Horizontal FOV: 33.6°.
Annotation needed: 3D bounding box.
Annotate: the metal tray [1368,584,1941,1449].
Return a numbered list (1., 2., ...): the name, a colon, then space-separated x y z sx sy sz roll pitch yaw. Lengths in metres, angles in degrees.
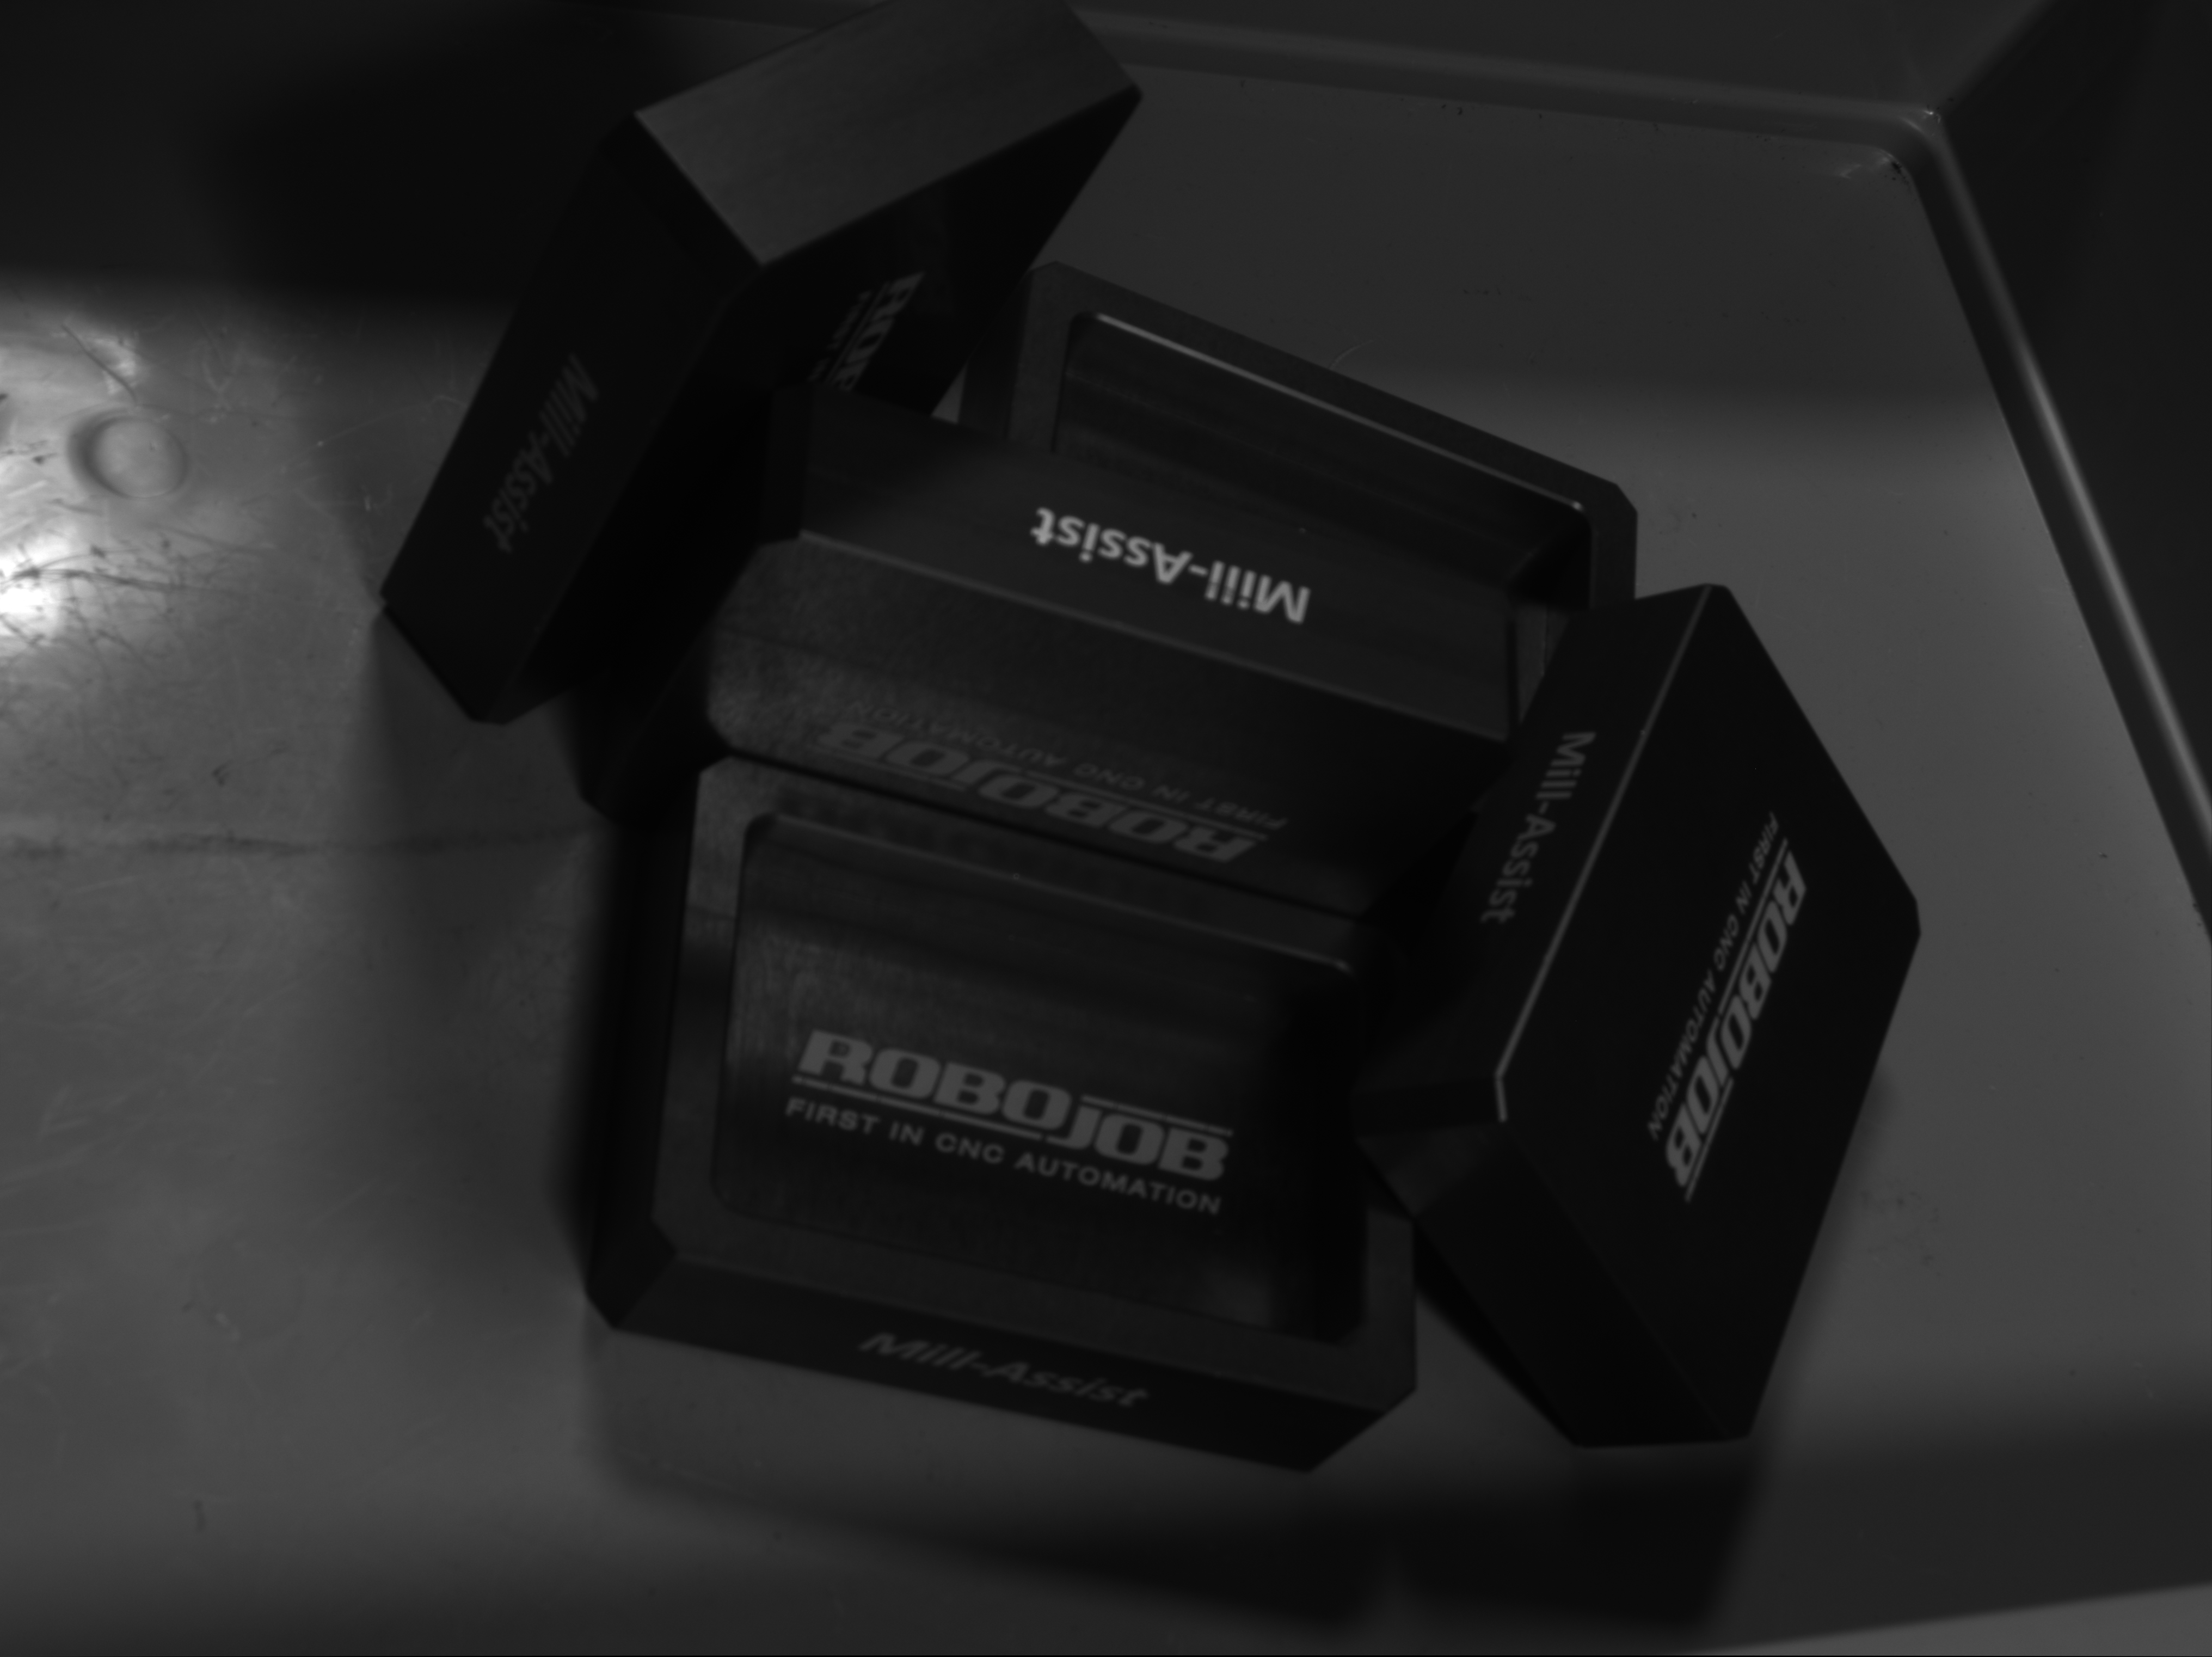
1. metal tray: 0.100 0.032 0.644 0.090 0.030 0.130 53 46 -27

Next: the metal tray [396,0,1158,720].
1. metal tray: -0.055 -0.077 0.587 0.090 0.130 0.030 -34 81 -38

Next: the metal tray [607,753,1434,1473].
1. metal tray: -0.011 0.047 0.598 0.130 0.030 0.090 15 55 -20

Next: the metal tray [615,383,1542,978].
1. metal tray: -0.005 -0.020 0.604 0.130 0.090 0.030 15 55 -20

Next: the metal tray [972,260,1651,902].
1. metal tray: 0.037 -0.043 0.681 0.130 0.030 0.090 19 54 -17
